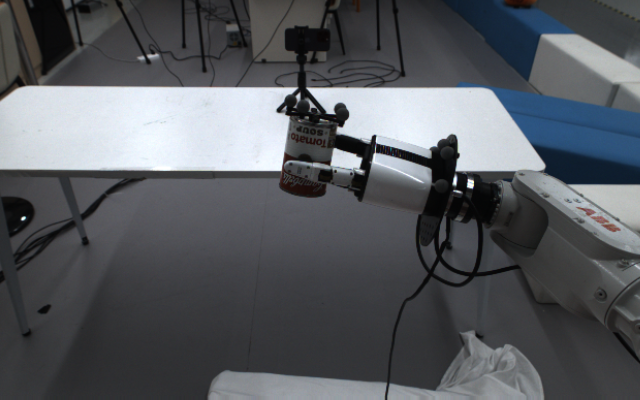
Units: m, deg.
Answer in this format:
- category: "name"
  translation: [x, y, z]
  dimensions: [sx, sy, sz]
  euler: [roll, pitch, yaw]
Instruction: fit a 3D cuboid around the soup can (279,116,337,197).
- category: "soup can"
  translation: [-0.015, -0.063, 0.669]
  dimensions: [0.067, 0.101, 0.067]
  euler: [9, 20, -3]
